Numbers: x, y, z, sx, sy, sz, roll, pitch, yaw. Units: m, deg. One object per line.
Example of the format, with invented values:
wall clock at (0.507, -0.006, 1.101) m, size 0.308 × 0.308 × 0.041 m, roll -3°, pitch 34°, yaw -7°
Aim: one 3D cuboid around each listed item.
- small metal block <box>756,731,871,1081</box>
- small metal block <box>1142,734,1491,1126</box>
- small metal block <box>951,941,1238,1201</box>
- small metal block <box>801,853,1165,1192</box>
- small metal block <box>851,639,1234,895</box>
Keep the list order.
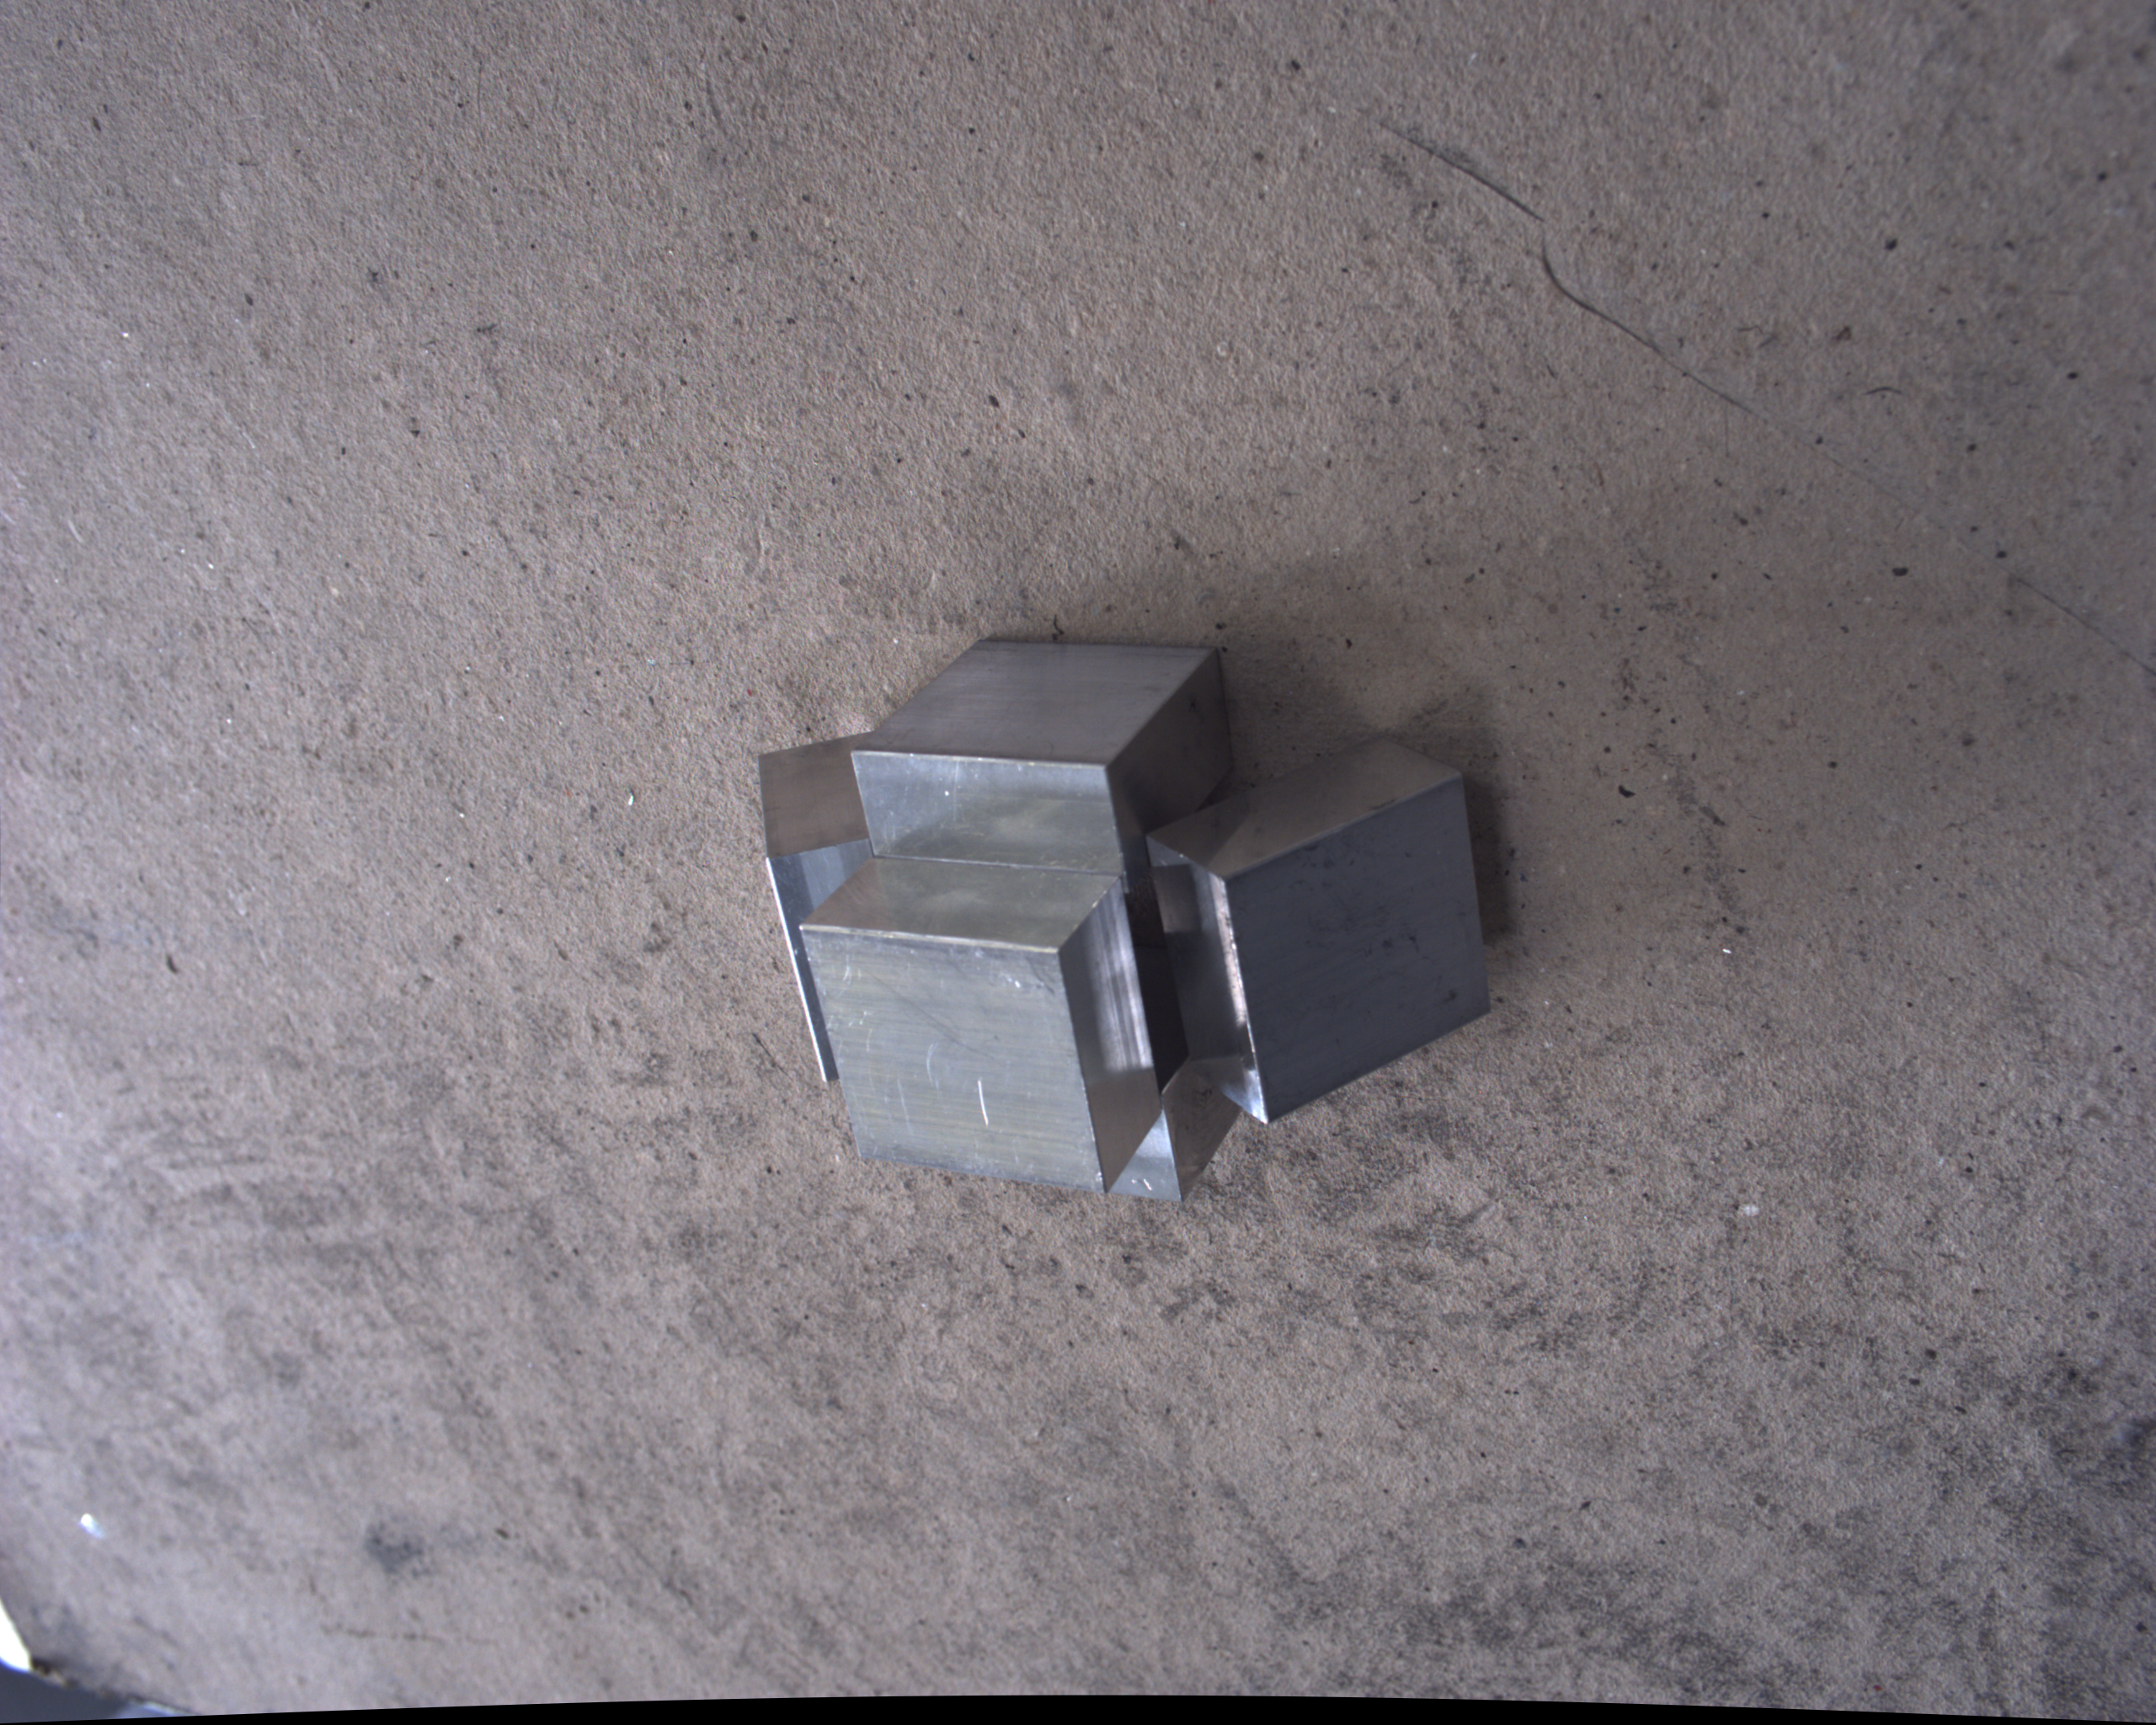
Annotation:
small metal block at (-0.045, 0.007, 0.418) m, size 0.025 × 0.050 × 0.050 m, roll -13°, pitch 117°, yaw -5°
small metal block at (0.044, 0.011, 0.373) m, size 0.025 × 0.050 × 0.050 m, roll 32°, pitch 140°, yaw 55°
small metal block at (0.006, 0.039, 0.414) m, size 0.050 × 0.050 × 0.025 m, roll 3°, pitch 120°, yaw 26°
small metal block at (-0.016, 0.028, 0.370) m, size 0.050 × 0.025 × 0.050 m, roll 4°, pitch 121°, yaw 26°
small metal block at (-0.005, -0.019, 0.383) m, size 0.050 × 0.050 × 0.025 m, roll 5°, pitch 121°, yaw 26°
